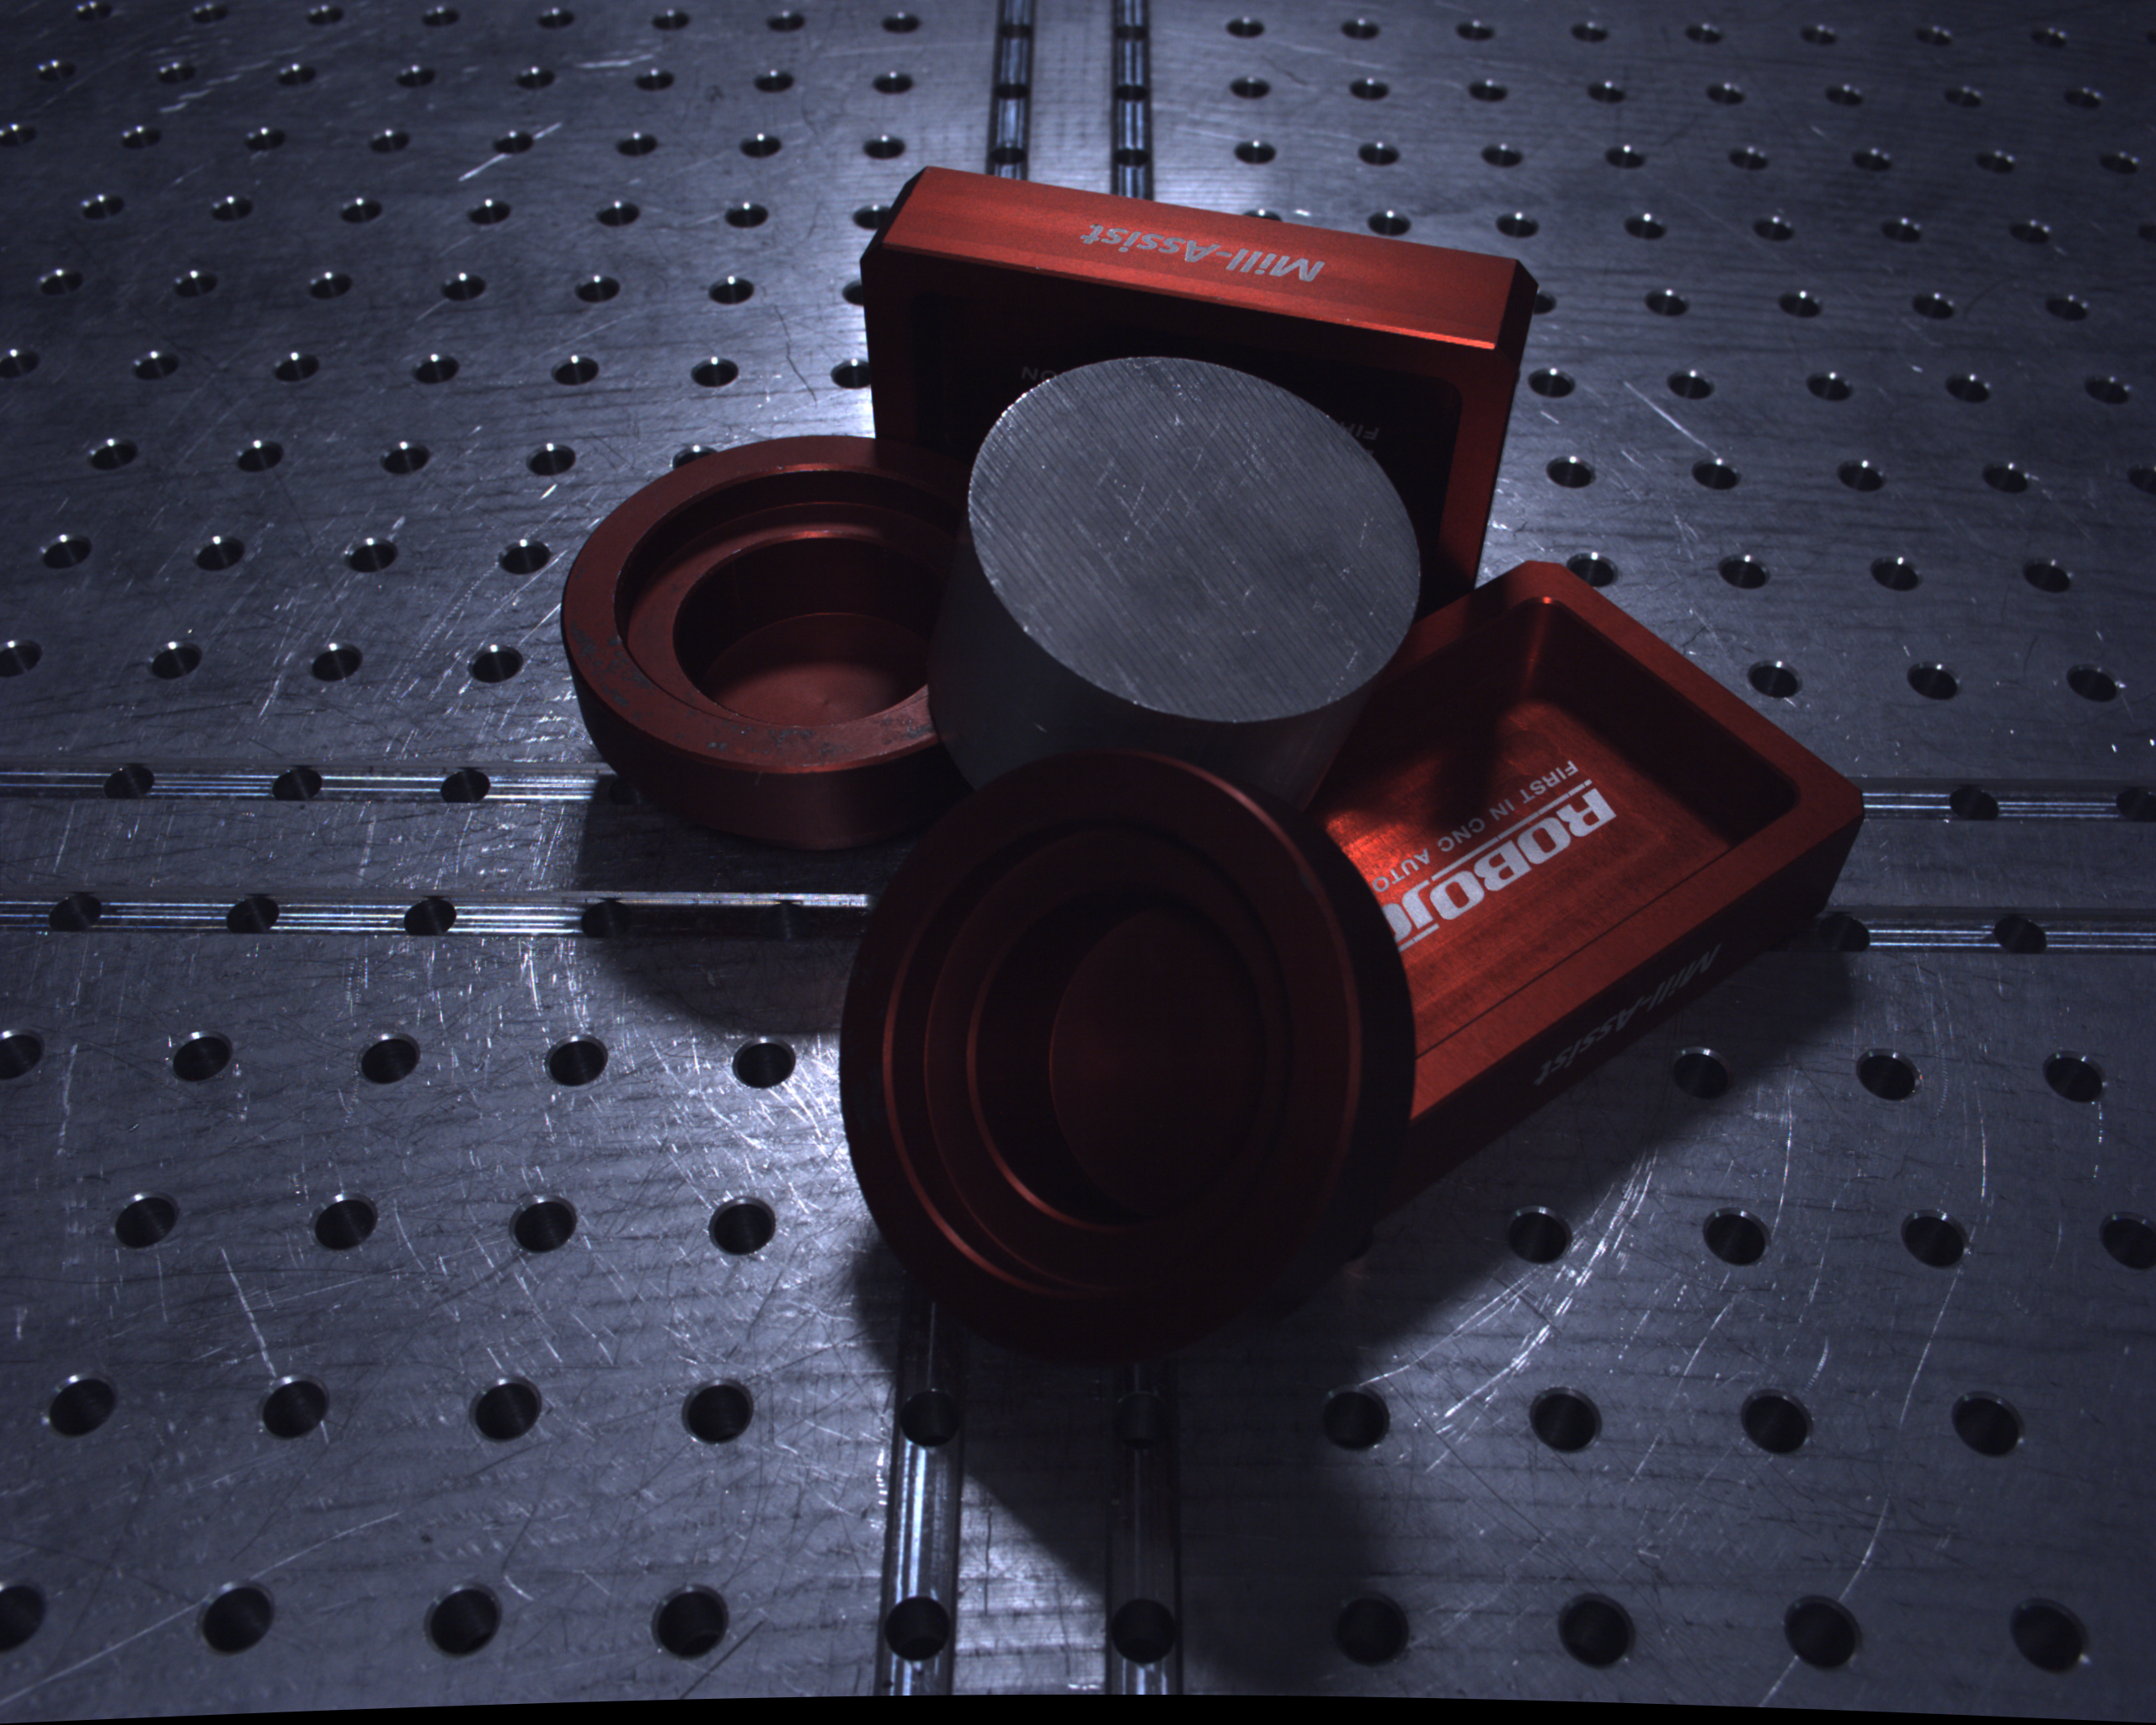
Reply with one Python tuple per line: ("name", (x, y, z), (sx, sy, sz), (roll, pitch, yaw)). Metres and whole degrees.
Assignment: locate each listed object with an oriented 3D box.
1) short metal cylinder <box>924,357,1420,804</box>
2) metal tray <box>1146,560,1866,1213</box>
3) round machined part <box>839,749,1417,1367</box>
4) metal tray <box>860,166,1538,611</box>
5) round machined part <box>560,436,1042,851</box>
("short metal cylinder", (0.016, -0.045, 0.381), (0.081, 0.050, 0.080), (7, 58, -10))
("metal tray", (0.073, 0.000, 0.404), (0.131, 0.030, 0.090), (-30, 56, -23))
("round machined part", (0.011, 0.033, 0.347), (0.098, 0.042, 0.097), (-6, 79, 32))
("metal tray", (0.023, -0.091, 0.442), (0.131, 0.089, 0.030), (12, 51, 9))
("round machined part", (-0.053, -0.041, 0.431), (0.099, 0.042, 0.098), (0, 50, 0))
